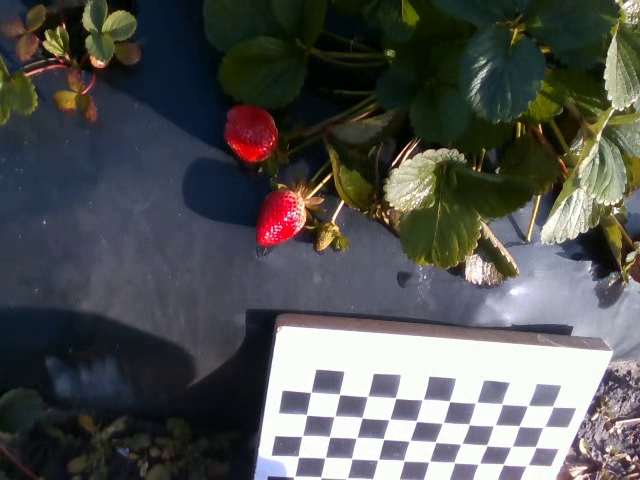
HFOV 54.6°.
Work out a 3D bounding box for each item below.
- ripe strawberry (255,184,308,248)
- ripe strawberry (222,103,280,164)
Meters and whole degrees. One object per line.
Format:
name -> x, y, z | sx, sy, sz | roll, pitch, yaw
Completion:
ripe strawberry -> -0.032, -0.015, 0.471 | 0.038, 0.043, 0.053 | -5, 41, 52
ripe strawberry -> -0.054, -0.082, 0.476 | 0.054, 0.048, 0.039 | 13, 23, -39
